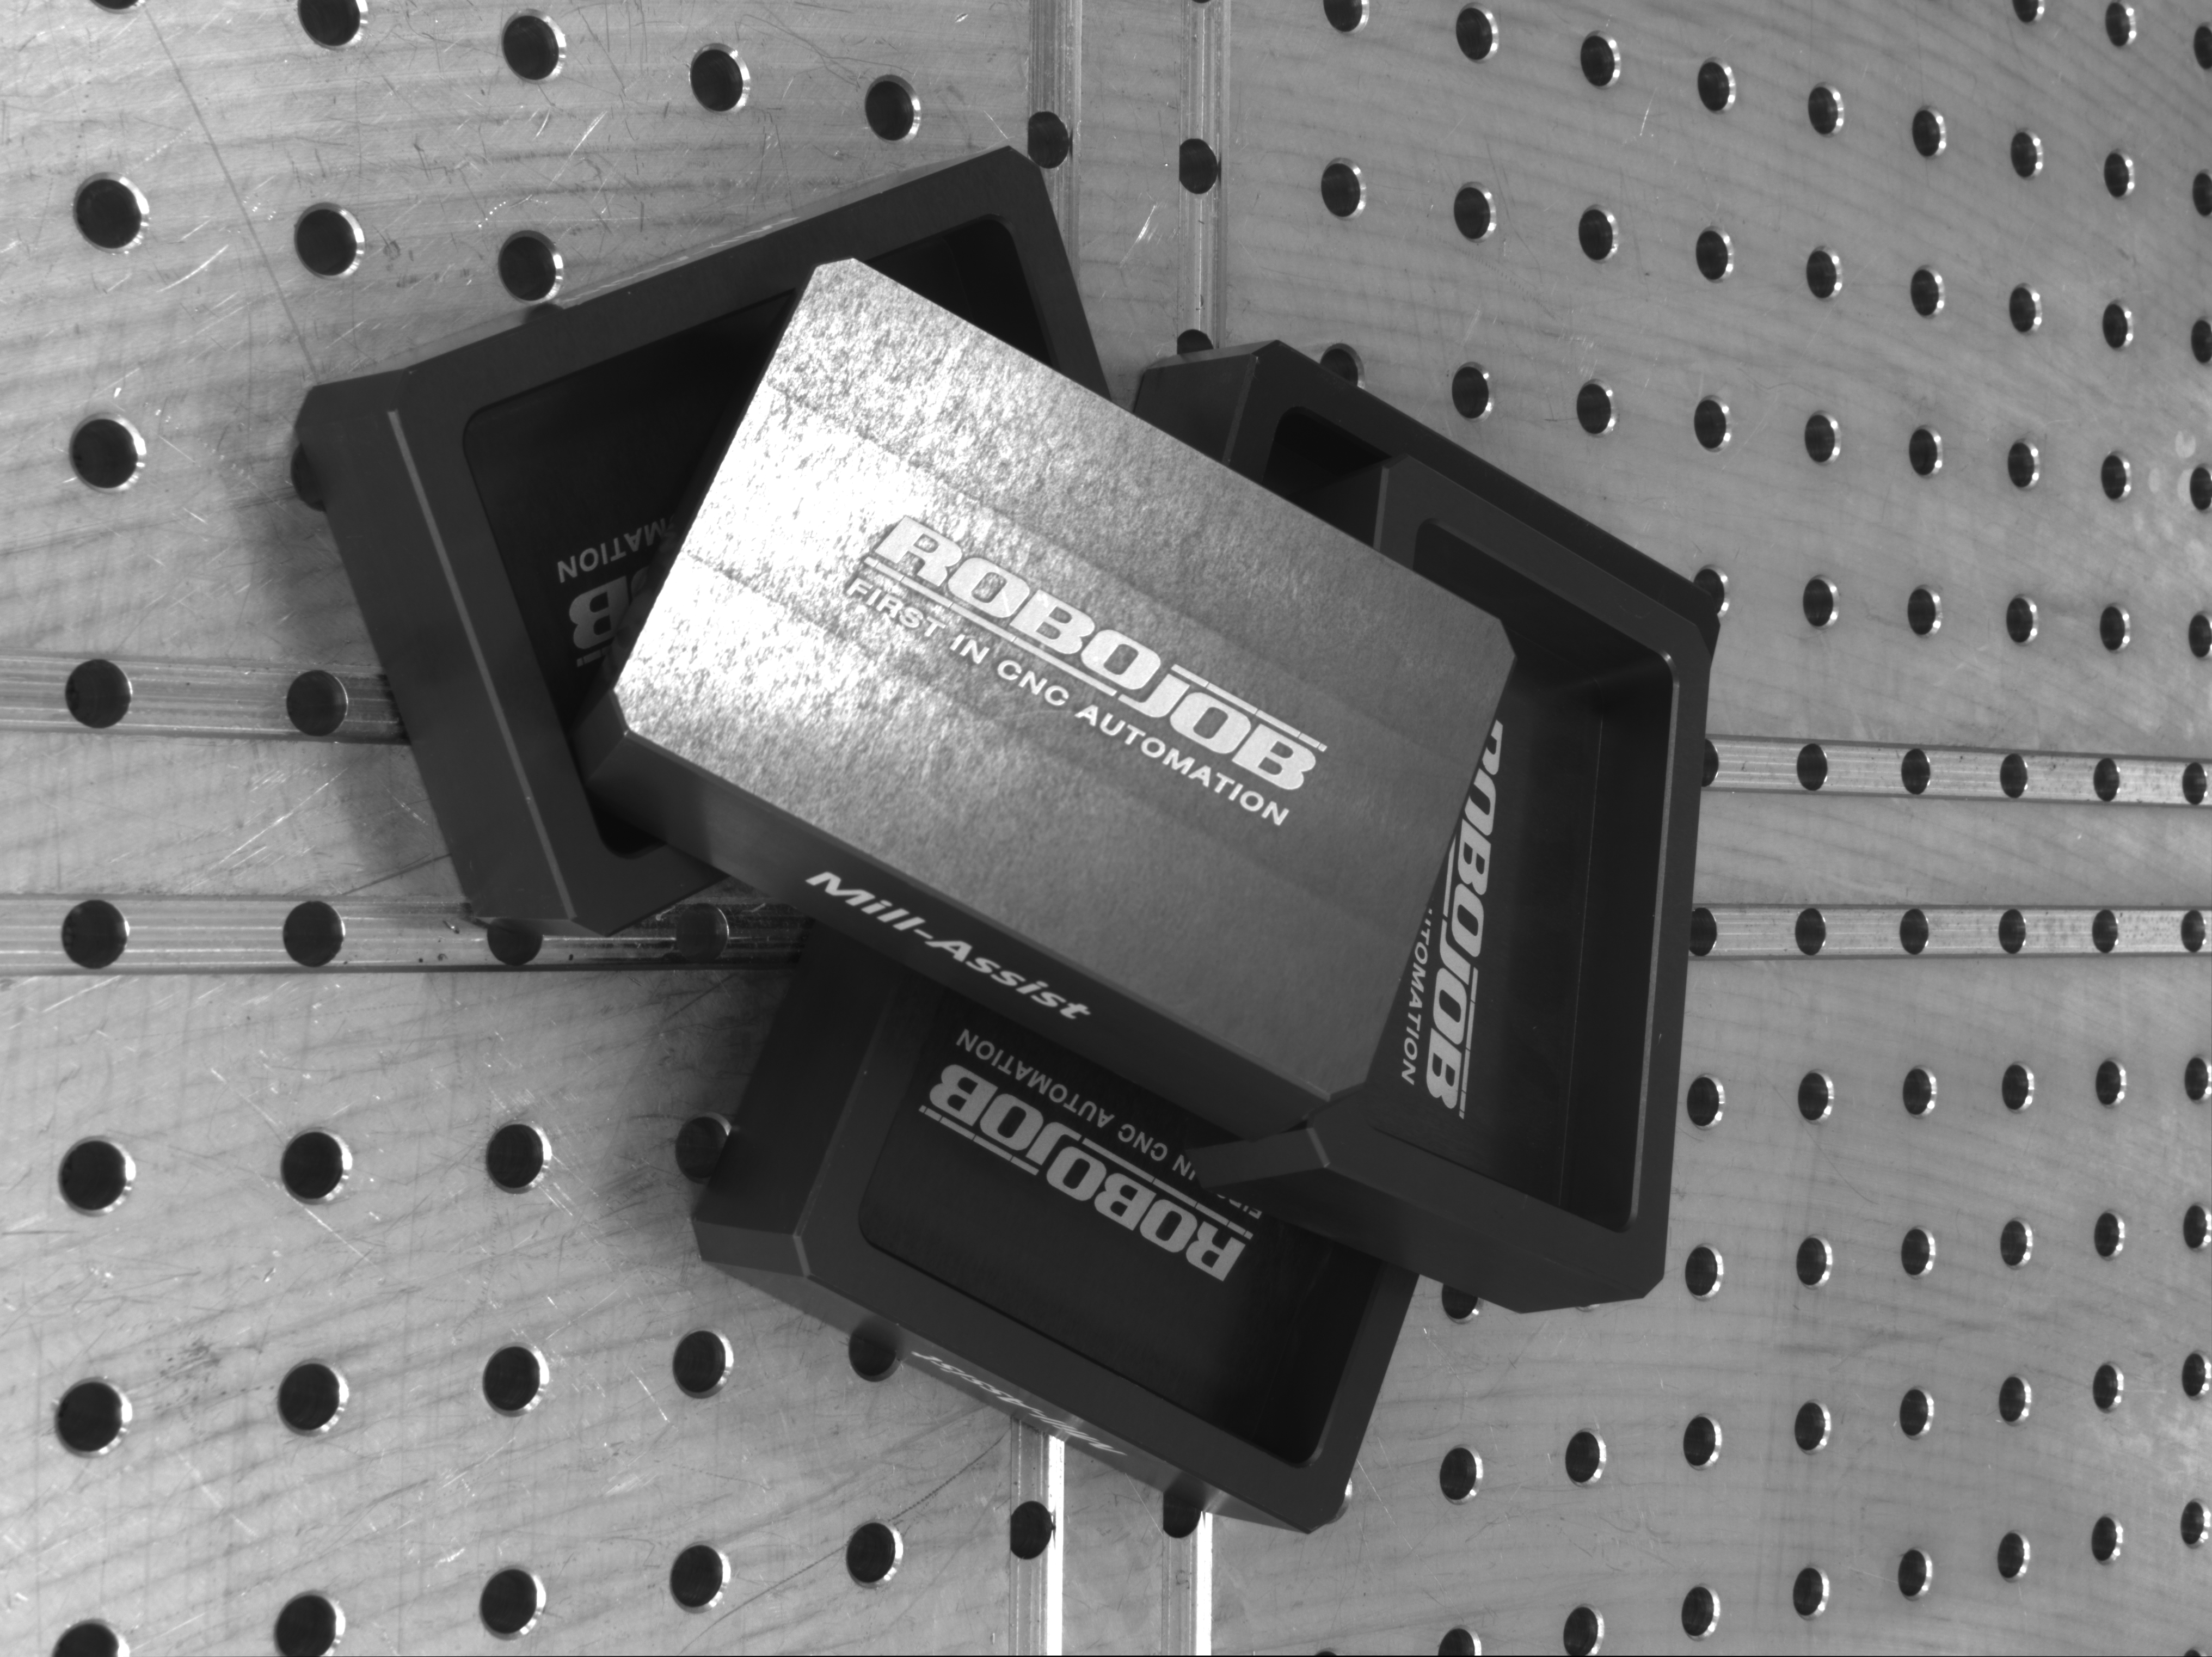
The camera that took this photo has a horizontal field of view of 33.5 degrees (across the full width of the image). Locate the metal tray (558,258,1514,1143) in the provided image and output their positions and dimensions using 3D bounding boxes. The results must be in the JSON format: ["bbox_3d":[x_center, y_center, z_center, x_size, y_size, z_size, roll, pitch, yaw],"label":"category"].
[{"bbox_3d":[-0.008,-0.019,0.576,0.130,0.030,0.090,28,63,-13],"label":"metal tray"}]

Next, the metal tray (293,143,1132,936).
[{"bbox_3d":[-0.055,-0.048,0.590,0.130,0.030,0.090,-28,107,-36],"label":"metal tray"}]

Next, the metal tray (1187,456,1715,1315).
[{"bbox_3d":[0.064,0.011,0.648,0.090,0.030,0.130,25,63,-37],"label":"metal tray"}]

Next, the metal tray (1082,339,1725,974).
[{"bbox_3d":[0.054,-0.023,0.679,0.130,0.030,0.090,24,75,-36],"label":"metal tray"}]

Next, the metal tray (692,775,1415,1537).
[{"bbox_3d":[0.000,0.058,0.636,0.130,0.030,0.090,33,70,-35],"label":"metal tray"}]
